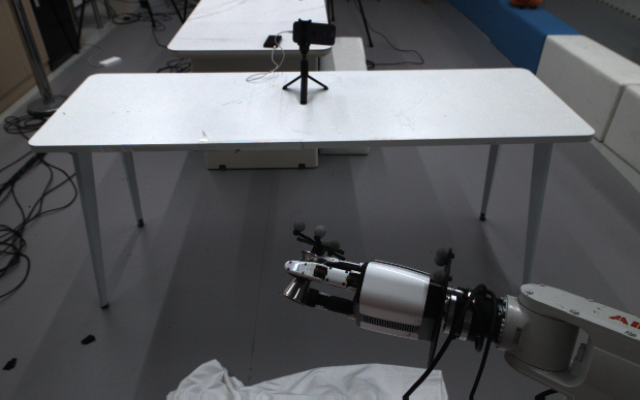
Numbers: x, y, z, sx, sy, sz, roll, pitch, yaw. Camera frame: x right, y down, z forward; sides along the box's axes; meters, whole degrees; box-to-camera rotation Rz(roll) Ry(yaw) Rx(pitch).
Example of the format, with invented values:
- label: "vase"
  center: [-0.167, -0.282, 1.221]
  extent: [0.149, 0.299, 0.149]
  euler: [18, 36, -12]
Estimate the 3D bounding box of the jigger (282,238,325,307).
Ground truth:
- label: "jigger"
  center: [-0.024, 0.106, 0.674]
  extent: [0.043, 0.043, 0.071]
  euler: [20, 74, 24]
